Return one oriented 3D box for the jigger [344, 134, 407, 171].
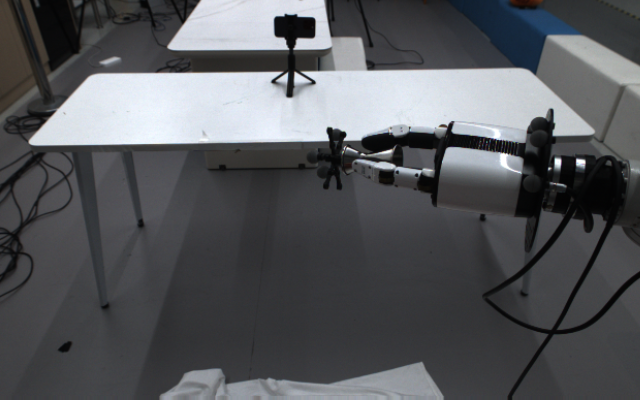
[{"bbox_3d":[0.072,-0.055,0.606,0.071,0.043,0.043,3,32,26],"label":"jigger"}]
